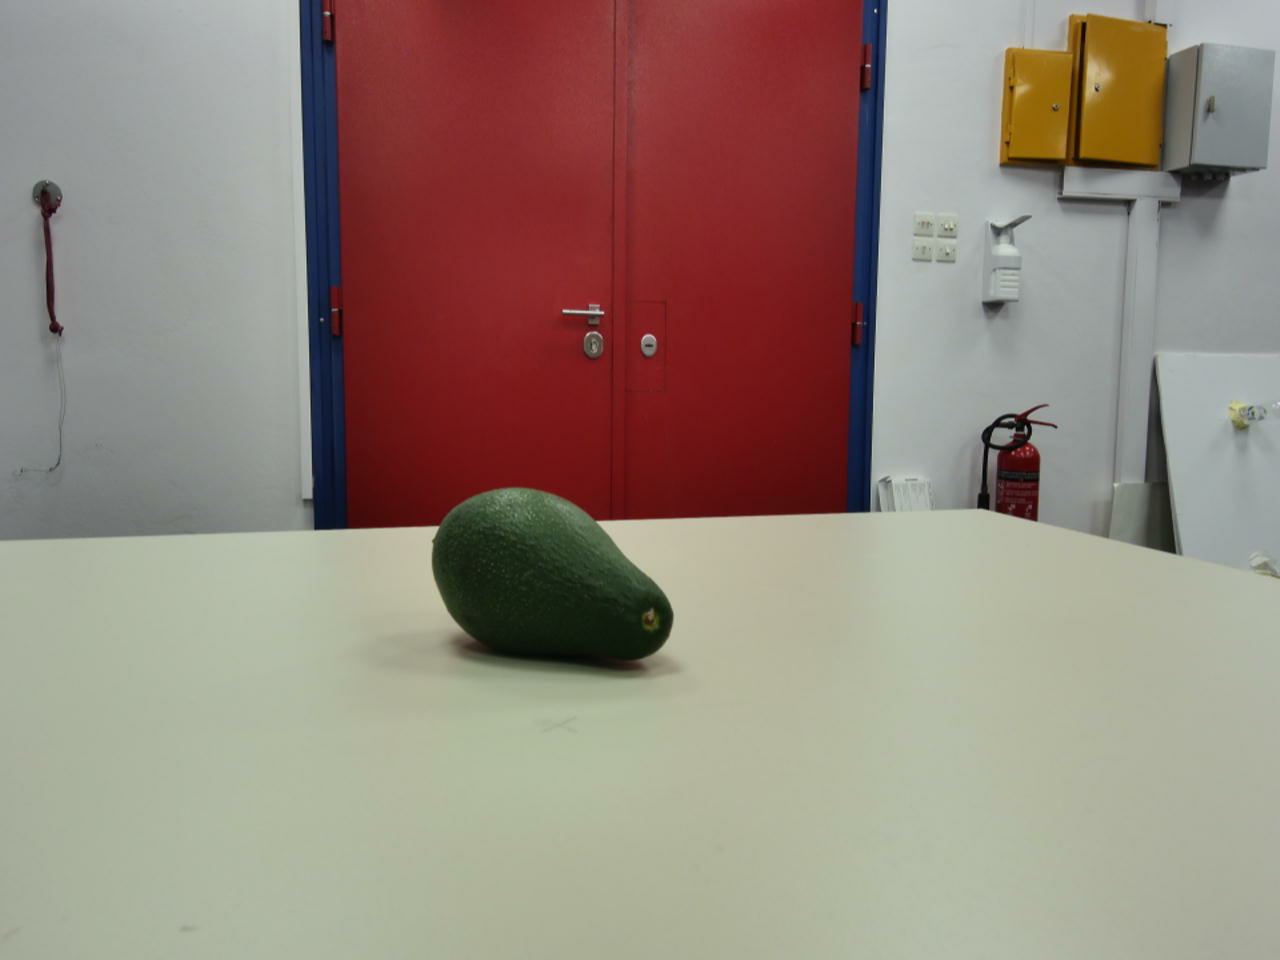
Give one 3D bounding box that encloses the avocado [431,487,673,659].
[{"bbox_3d":[-0.042,0.039,0.424,0.072,0.071,0.110,-2,5,-36],"label":"avocado"}]
